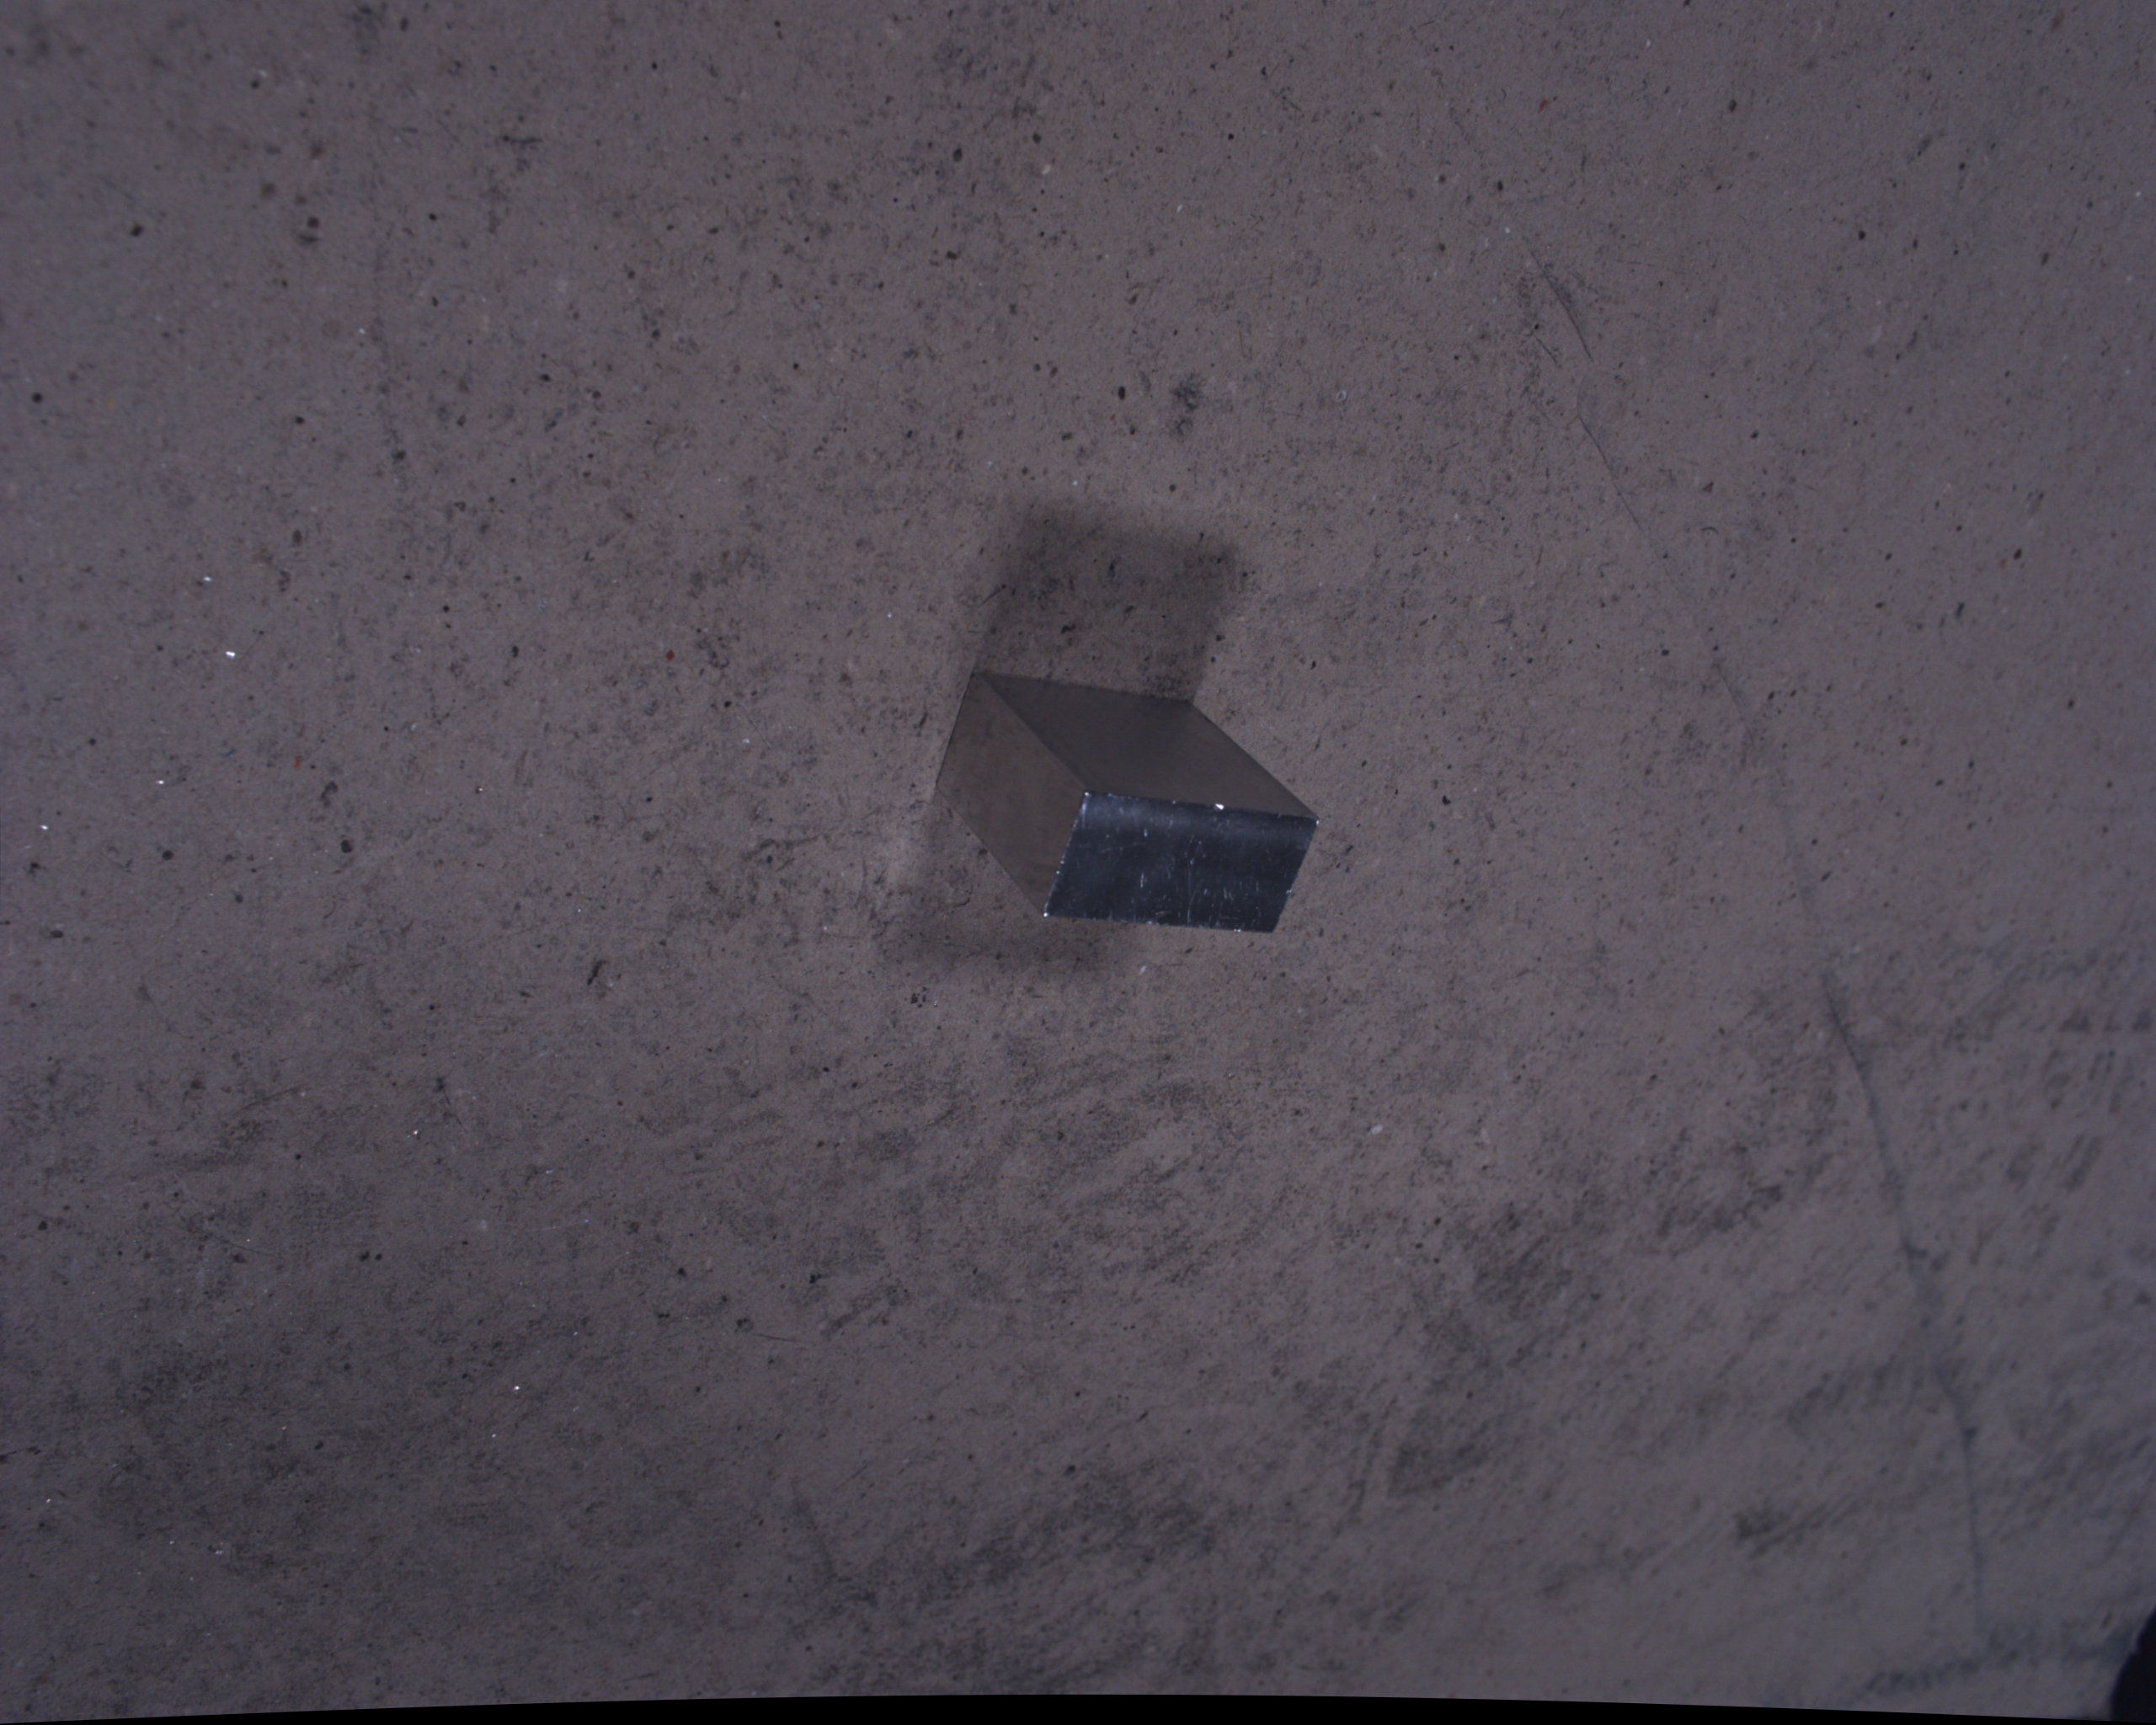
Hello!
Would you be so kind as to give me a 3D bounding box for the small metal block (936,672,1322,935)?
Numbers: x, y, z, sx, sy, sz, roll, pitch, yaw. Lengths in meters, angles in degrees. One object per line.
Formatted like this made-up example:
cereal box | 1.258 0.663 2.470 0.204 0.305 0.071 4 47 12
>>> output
small metal block | 0.009 -0.011 0.391 0.050 0.050 0.025 5 116 -31
